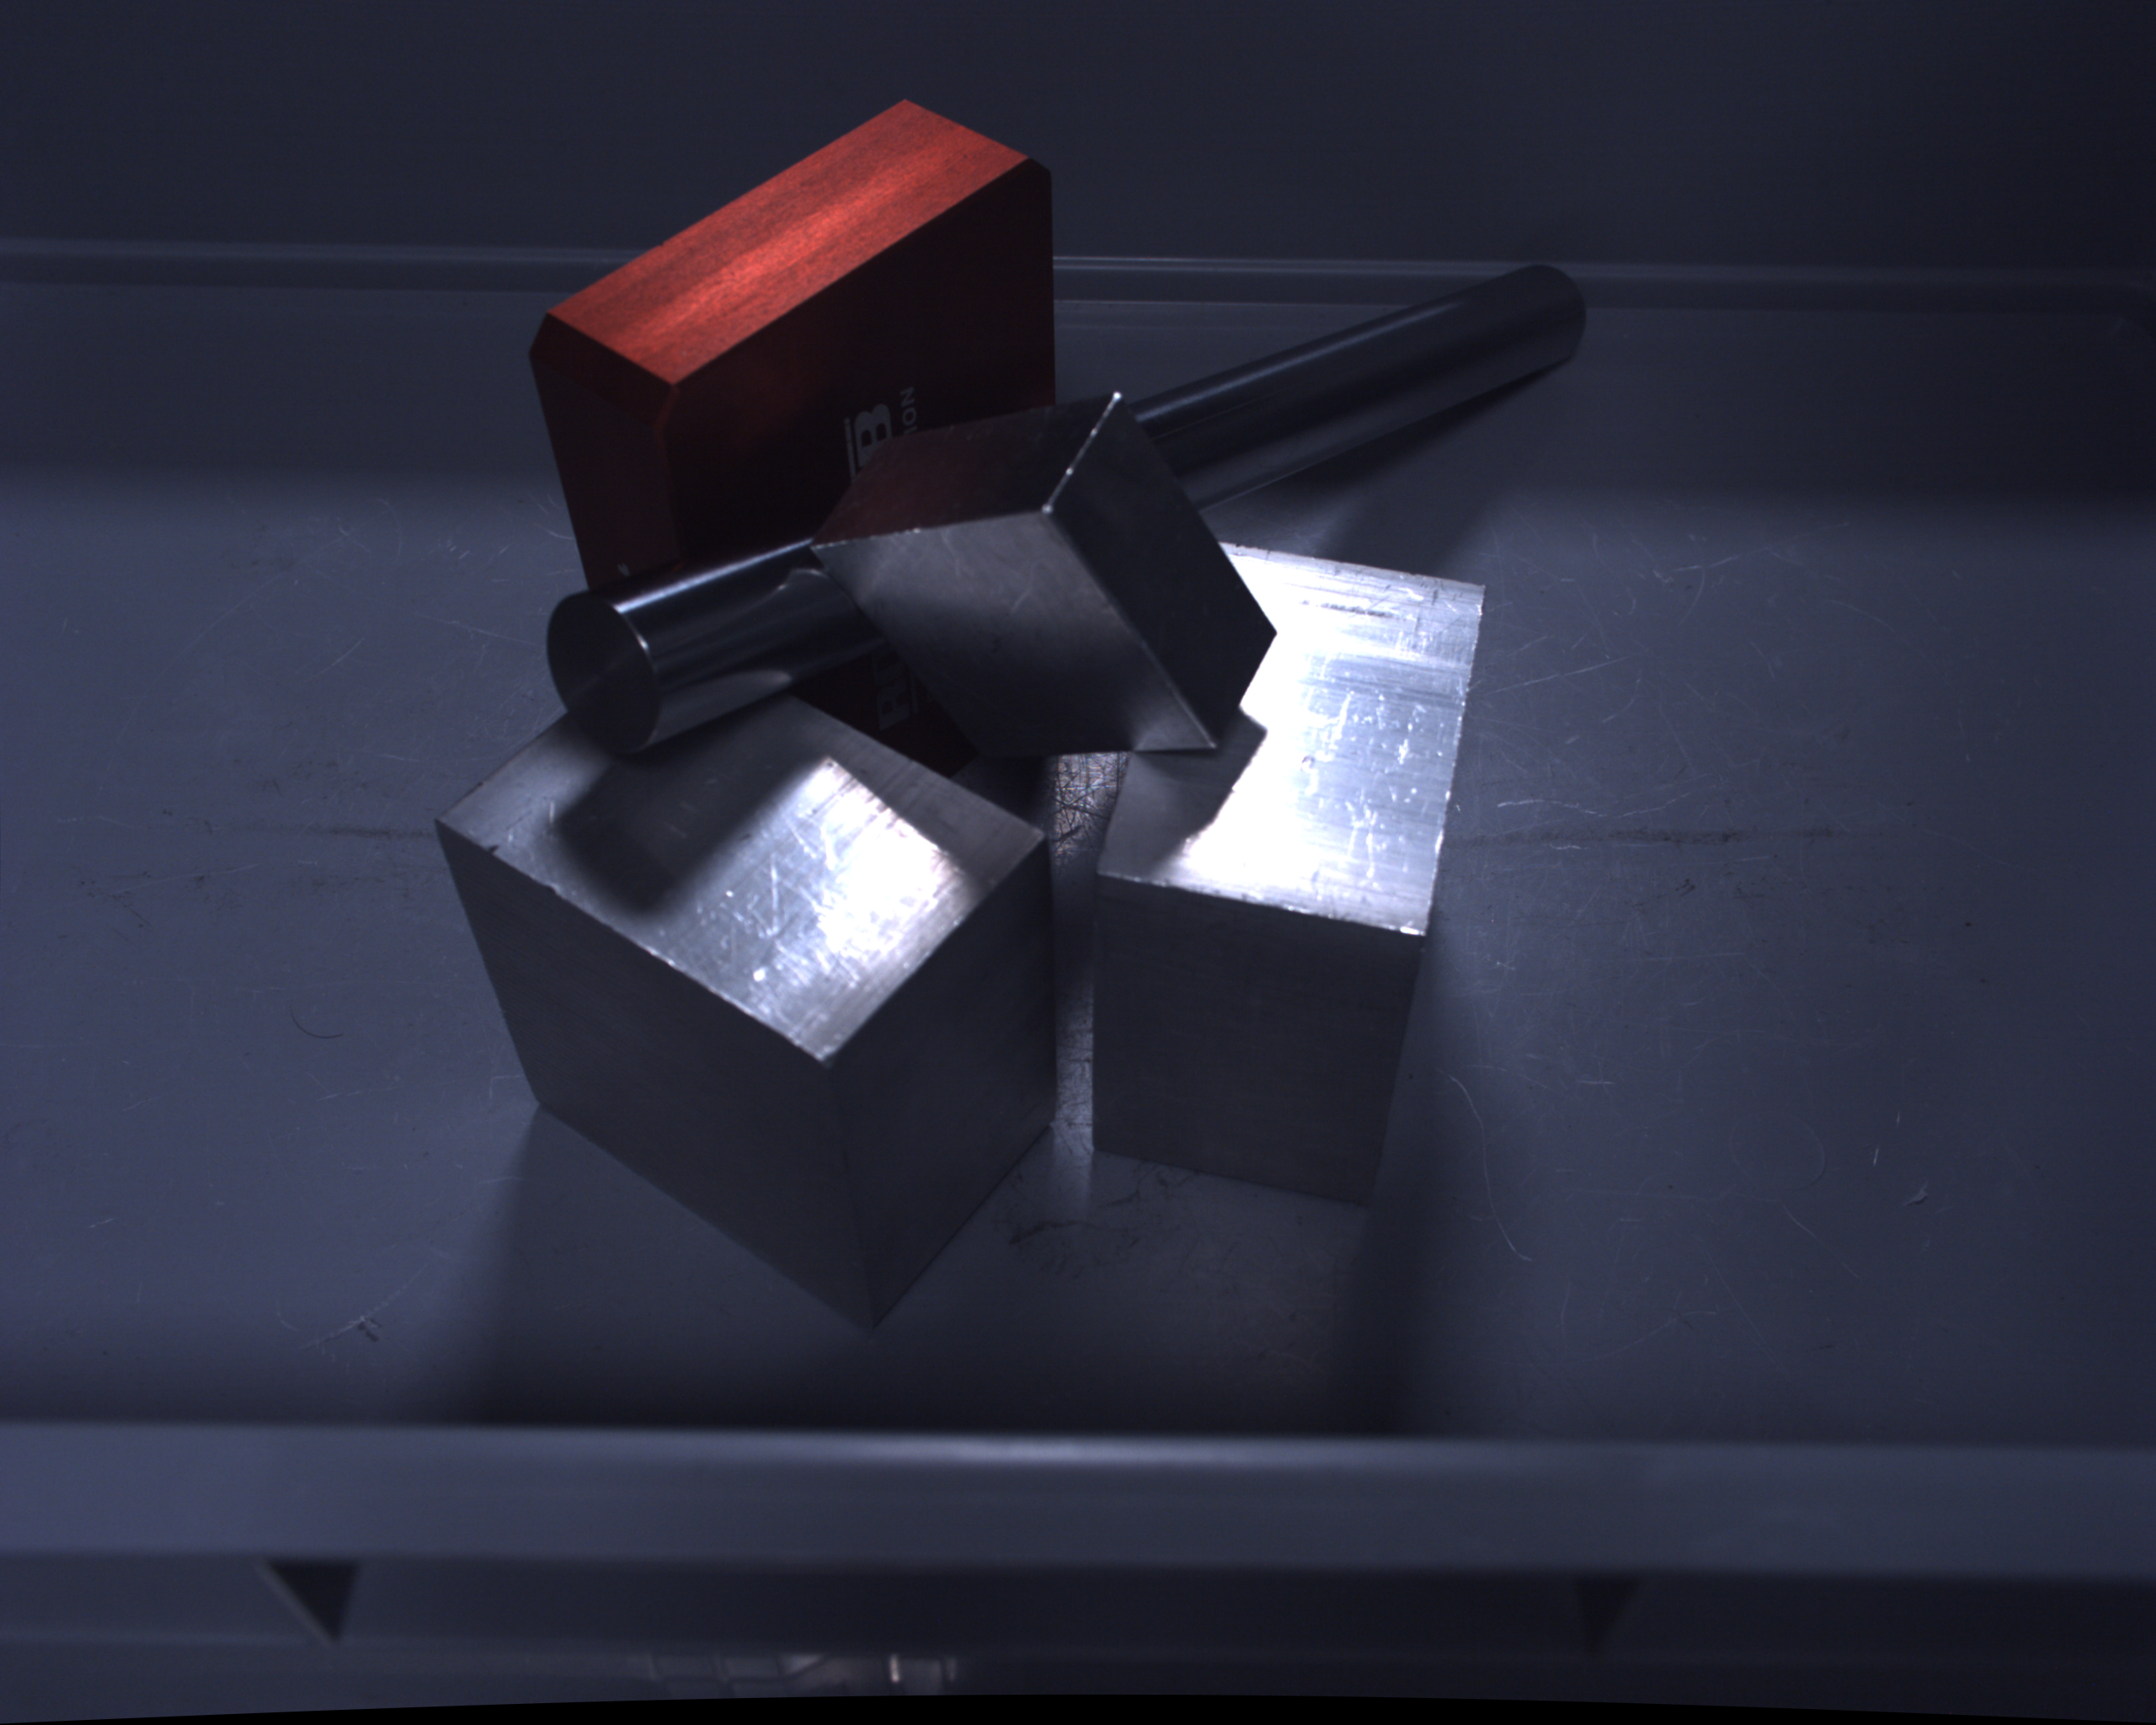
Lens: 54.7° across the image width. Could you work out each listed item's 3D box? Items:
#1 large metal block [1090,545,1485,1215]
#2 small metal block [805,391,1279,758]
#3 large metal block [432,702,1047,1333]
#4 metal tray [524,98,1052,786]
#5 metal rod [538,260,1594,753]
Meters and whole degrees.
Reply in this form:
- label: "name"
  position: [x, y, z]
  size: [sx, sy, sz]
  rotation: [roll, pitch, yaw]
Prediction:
- label: "large metal block"
  position: [0.036, 0.003, 0.367]
  size: [0.050, 0.080, 0.080]
  rotation: [10, 51, 8]
- label: "small metal block"
  position: [-0.005, -0.043, 0.327]
  size: [0.050, 0.050, 0.025]
  rotation: [0, 51, 42]
- label: "large metal block"
  position: [-0.053, 0.021, 0.351]
  size: [0.080, 0.080, 0.050]
  rotation: [29, 56, 22]
- label: "metal tray"
  position: [-0.045, -0.061, 0.385]
  size: [0.030, 0.129, 0.090]
  rotation: [33, 58, 25]
- label: "metal rod"
  position: [0.022, -0.083, 0.415]
  size: [0.025, 0.025, 0.302]
  rotation: [34, 41, 25]
